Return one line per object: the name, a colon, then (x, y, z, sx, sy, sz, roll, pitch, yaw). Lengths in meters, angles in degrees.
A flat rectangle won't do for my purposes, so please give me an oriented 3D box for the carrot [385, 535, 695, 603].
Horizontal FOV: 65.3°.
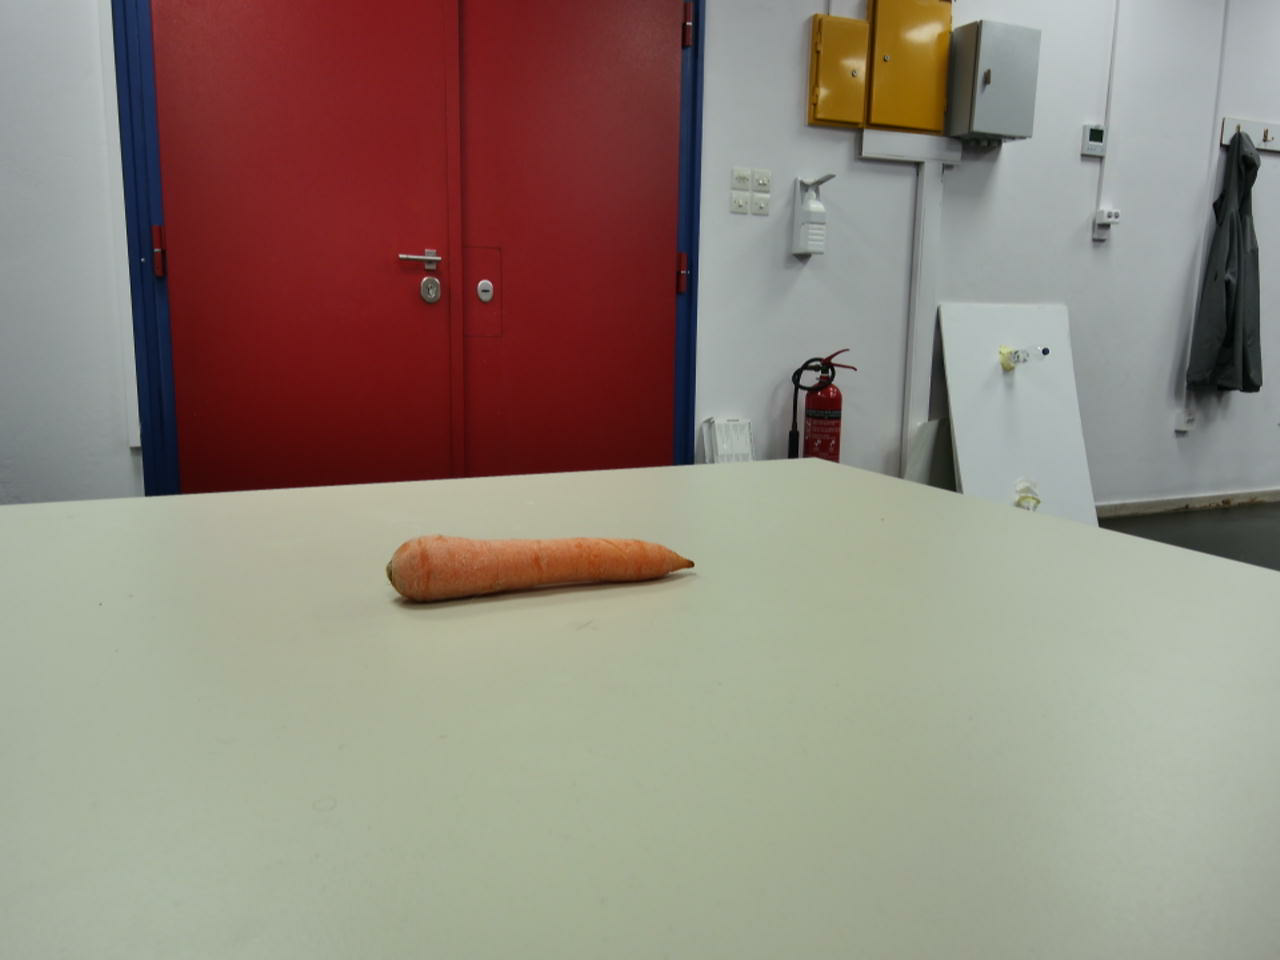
carrot: (-0.055, 0.048, 0.613, 0.196, 0.041, 0.039, -4, 9, -24)
